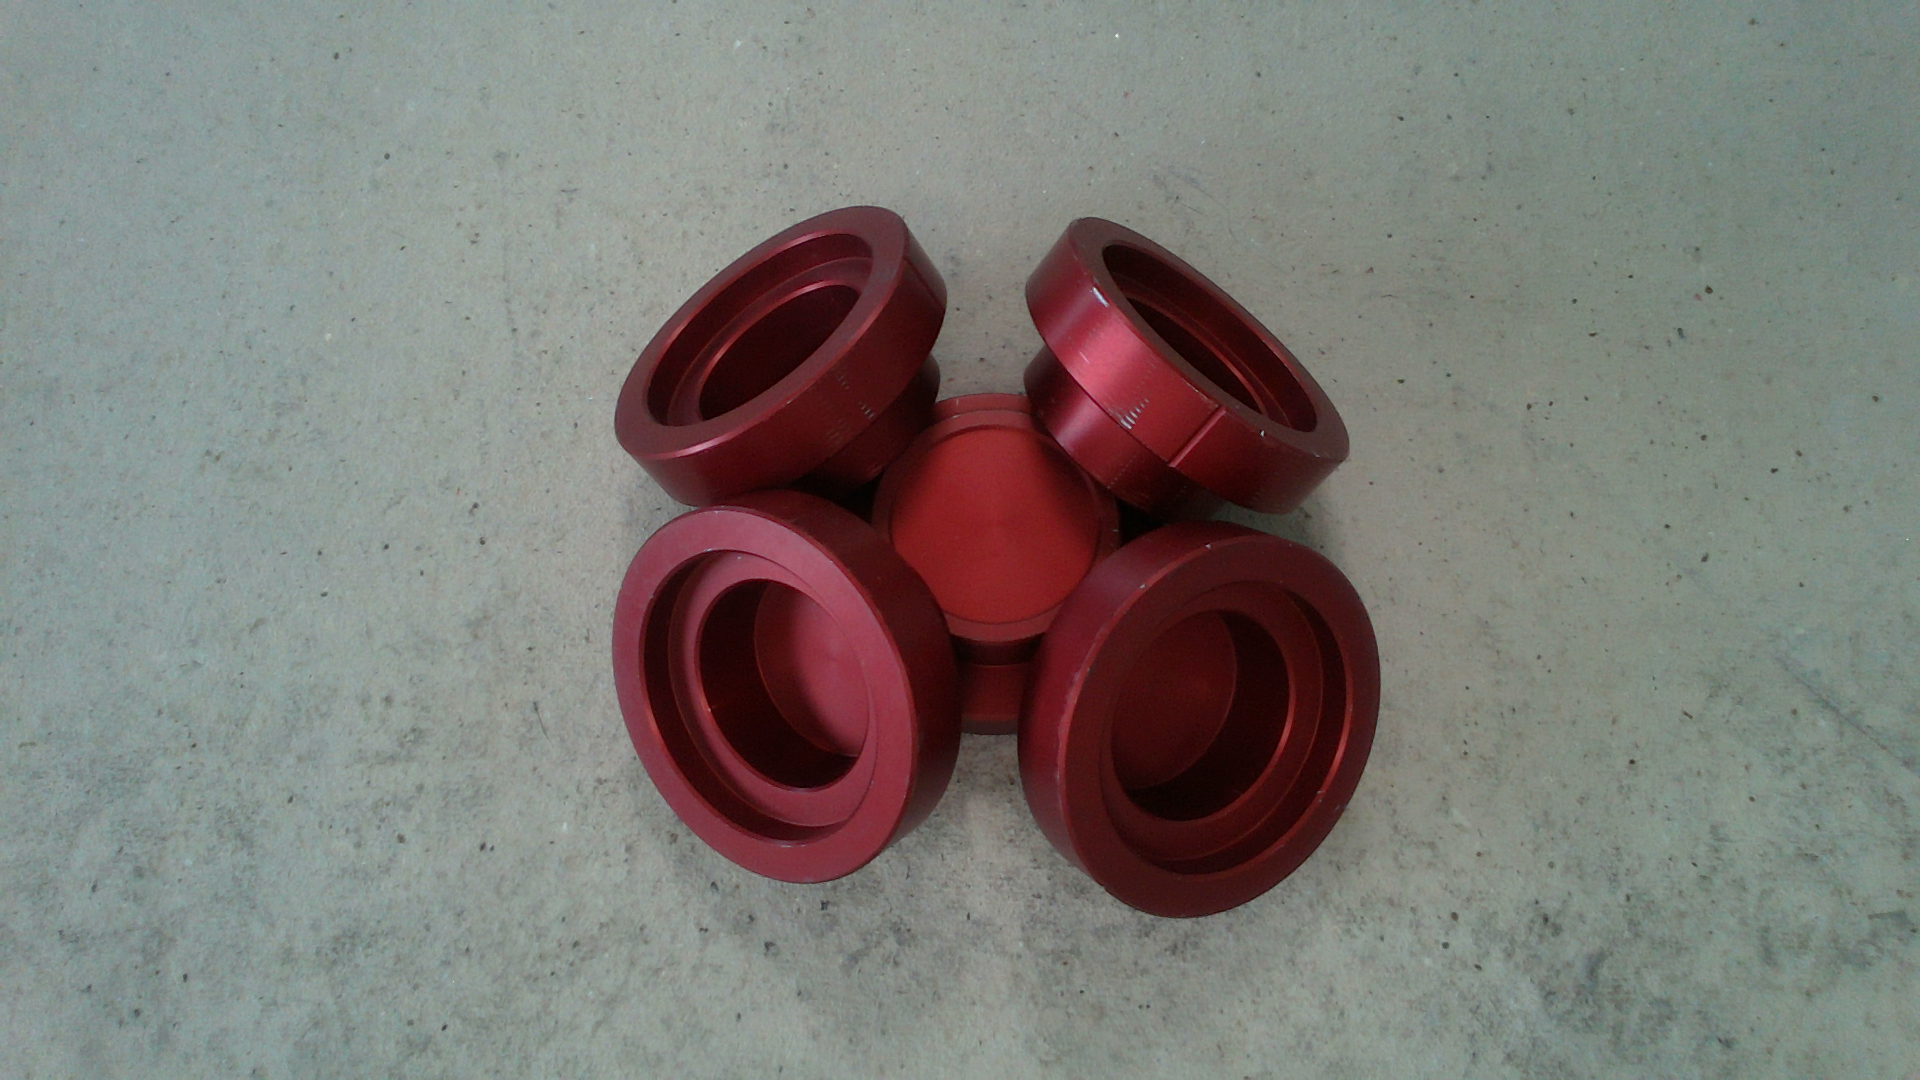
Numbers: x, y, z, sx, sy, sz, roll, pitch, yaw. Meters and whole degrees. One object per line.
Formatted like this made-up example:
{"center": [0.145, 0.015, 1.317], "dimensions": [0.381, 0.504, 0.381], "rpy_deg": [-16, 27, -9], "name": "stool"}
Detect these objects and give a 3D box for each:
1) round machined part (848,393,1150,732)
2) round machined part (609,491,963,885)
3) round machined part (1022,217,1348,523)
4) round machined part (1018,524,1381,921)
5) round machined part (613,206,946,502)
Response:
{"center": [0.009, 0.002, 0.385], "dimensions": [0.098, 0.042, 0.098], "rpy_deg": [1, 68, -1], "name": "round machined part"}
{"center": [-0.040, 0.034, 0.354], "dimensions": [0.098, 0.098, 0.042], "rpy_deg": [45, 32, 14], "name": "round machined part"}
{"center": [0.057, -0.042, 0.383], "dimensions": [0.098, 0.098, 0.042], "rpy_deg": [48, 117, 15], "name": "round machined part"}
{"center": [0.057, 0.043, 0.353], "dimensions": [0.098, 0.042, 0.098], "rpy_deg": [-7, 106, -27], "name": "round machined part"}
{"center": [-0.045, -0.045, 0.385], "dimensions": [0.098, 0.042, 0.098], "rpy_deg": [-24, 37, 20], "name": "round machined part"}
